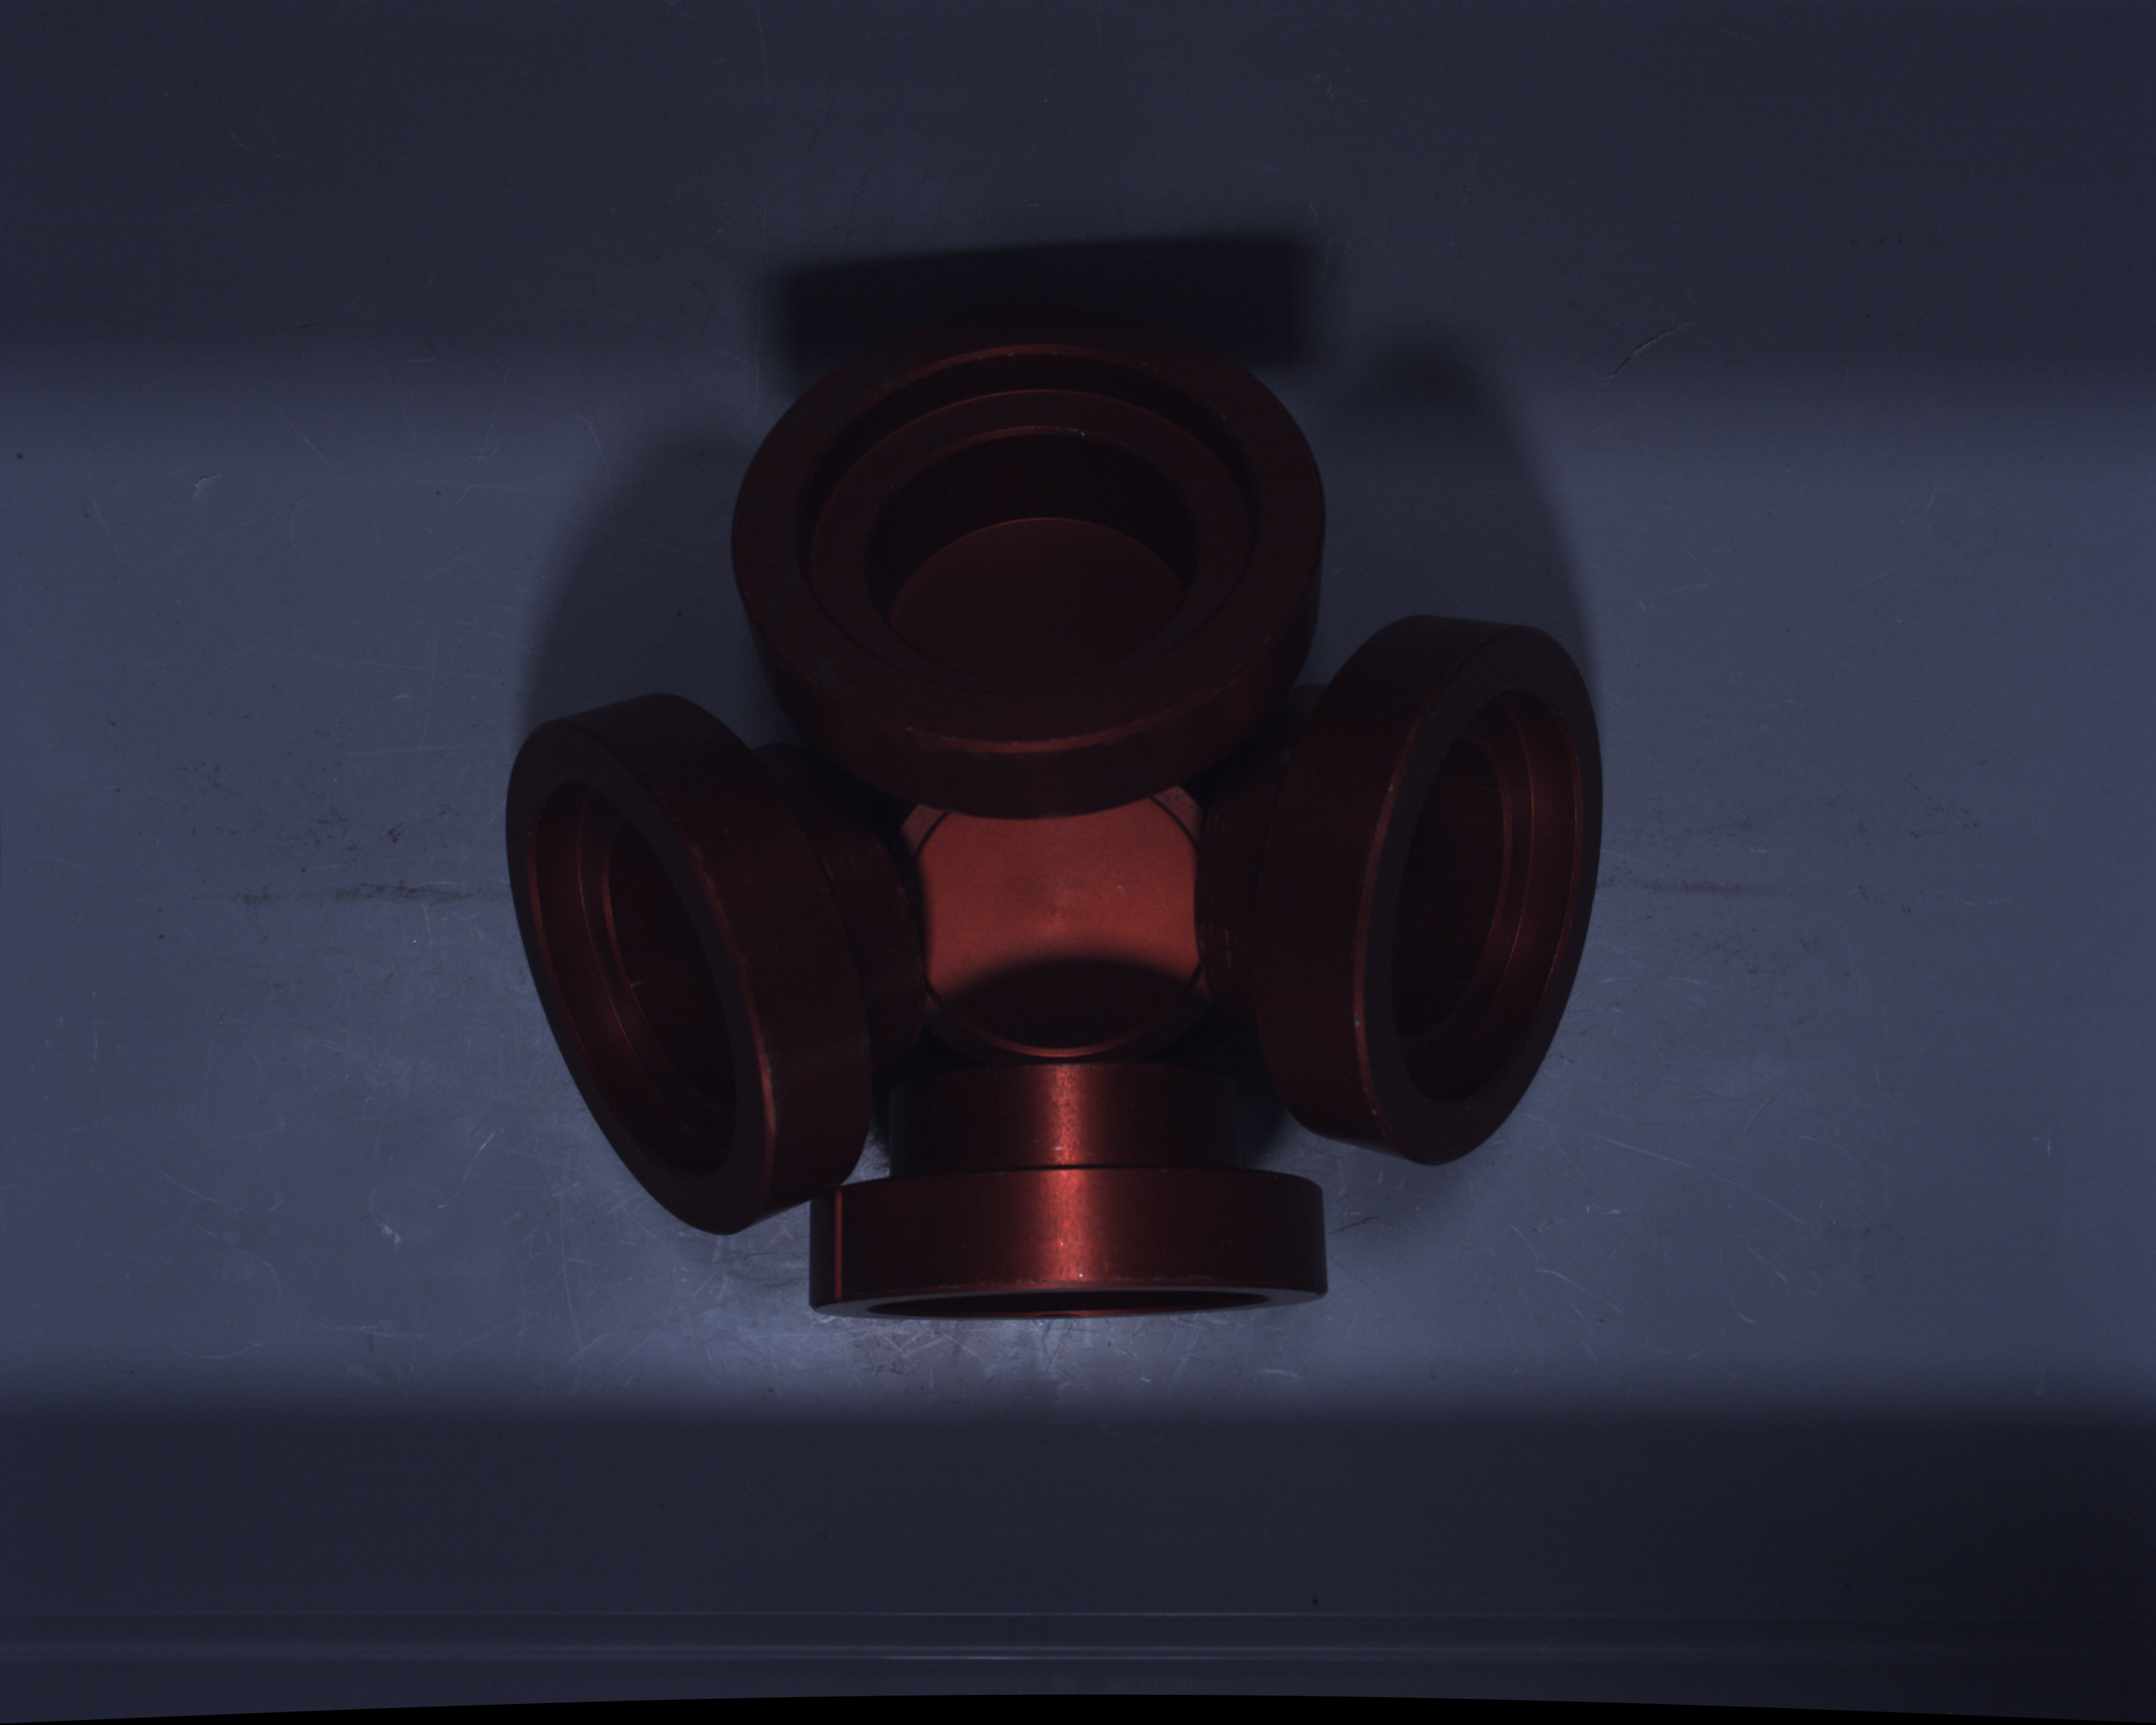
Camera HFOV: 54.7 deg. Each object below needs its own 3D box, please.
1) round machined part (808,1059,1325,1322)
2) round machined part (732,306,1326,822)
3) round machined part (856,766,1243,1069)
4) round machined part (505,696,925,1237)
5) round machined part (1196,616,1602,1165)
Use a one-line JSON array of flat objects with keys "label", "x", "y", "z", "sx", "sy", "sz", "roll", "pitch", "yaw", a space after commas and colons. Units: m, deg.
[{"label": "round machined part", "x": -0.002, "y": 0.065, "z": 0.404, "sx": 0.099, "sy": 0.098, "sz": 0.042, "roll": -1, "pitch": 74, "yaw": 0}, {"label": "round machined part", "x": -0.007, "y": -0.047, "z": 0.363, "sx": 0.099, "sy": 0.098, "sz": 0.042, "roll": -3, "pitch": 148, "yaw": 1}, {"label": "round machined part", "x": -0.004, "y": 0.002, "z": 0.401, "sx": 0.099, "sy": 0.042, "sz": 0.097, "roll": 0, "pitch": 110, "yaw": -1}, {"label": "round machined part", "x": -0.065, "y": 0.016, "z": 0.386, "sx": 0.042, "sy": 0.098, "sz": 0.097, "roll": -21, "pitch": 114, "yaw": -33}, {"label": "round machined part", "x": 0.057, "y": 0.003, "z": 0.383, "sx": 0.042, "sy": 0.099, "sz": 0.097, "roll": 12, "pitch": 115, "yaw": 34}]
